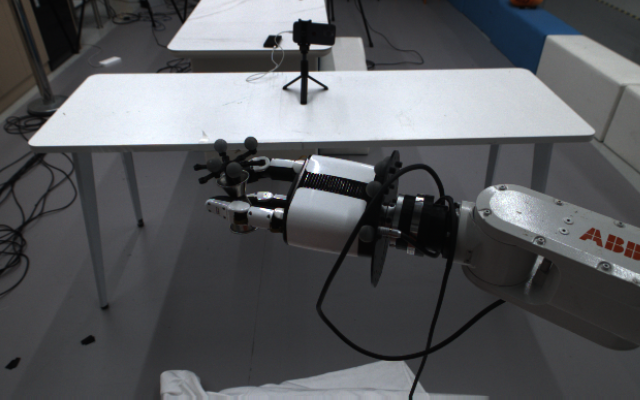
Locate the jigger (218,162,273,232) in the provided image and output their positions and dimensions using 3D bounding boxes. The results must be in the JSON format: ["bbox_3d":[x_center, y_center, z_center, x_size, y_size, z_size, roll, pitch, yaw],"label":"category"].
[{"bbox_3d":[-0.096,0.000,0.601,0.043,0.071,0.043,-9,31,5],"label":"jigger"}]
